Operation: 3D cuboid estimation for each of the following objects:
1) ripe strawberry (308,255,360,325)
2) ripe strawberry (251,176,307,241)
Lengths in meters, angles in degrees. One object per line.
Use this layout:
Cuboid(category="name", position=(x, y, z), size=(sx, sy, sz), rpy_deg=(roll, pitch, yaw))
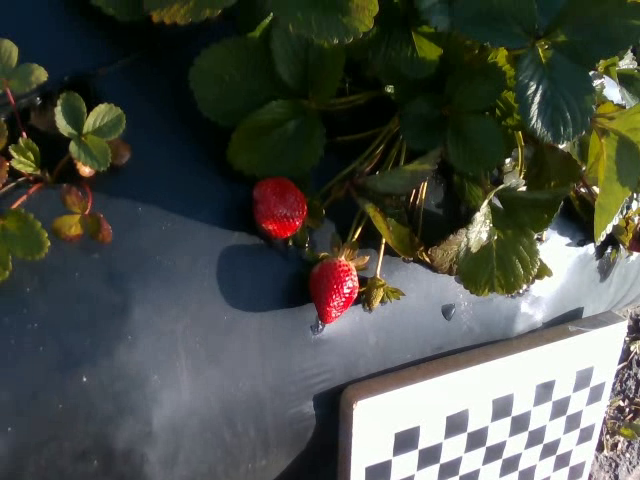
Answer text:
Cuboid(category="ripe strawberry", position=(0.010, 0.036, 0.403), size=(0.038, 0.053, 0.043), rpy_deg=(-19, -47, 37))
Cuboid(category="ripe strawberry", position=(-0.029, -0.022, 0.402), size=(0.039, 0.048, 0.054), rpy_deg=(23, 13, 34))
